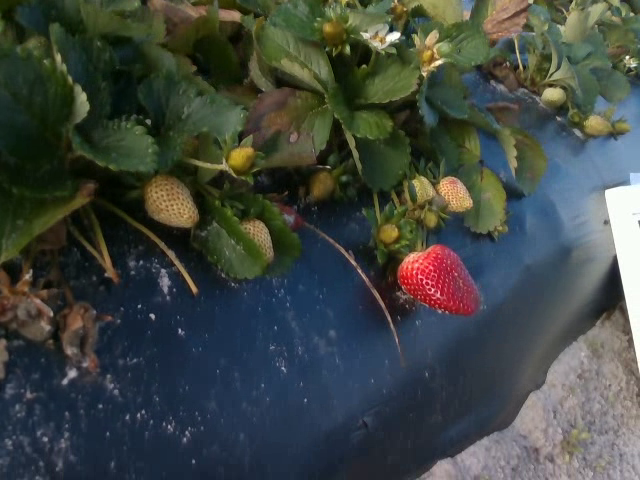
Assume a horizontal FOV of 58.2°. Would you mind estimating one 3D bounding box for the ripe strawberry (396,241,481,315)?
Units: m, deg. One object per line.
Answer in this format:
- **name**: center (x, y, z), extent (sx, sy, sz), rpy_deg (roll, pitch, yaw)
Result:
- **ripe strawberry**: center (0.095, 0.032, 0.437), extent (0.052, 0.045, 0.068), rpy_deg (-13, 48, -40)
